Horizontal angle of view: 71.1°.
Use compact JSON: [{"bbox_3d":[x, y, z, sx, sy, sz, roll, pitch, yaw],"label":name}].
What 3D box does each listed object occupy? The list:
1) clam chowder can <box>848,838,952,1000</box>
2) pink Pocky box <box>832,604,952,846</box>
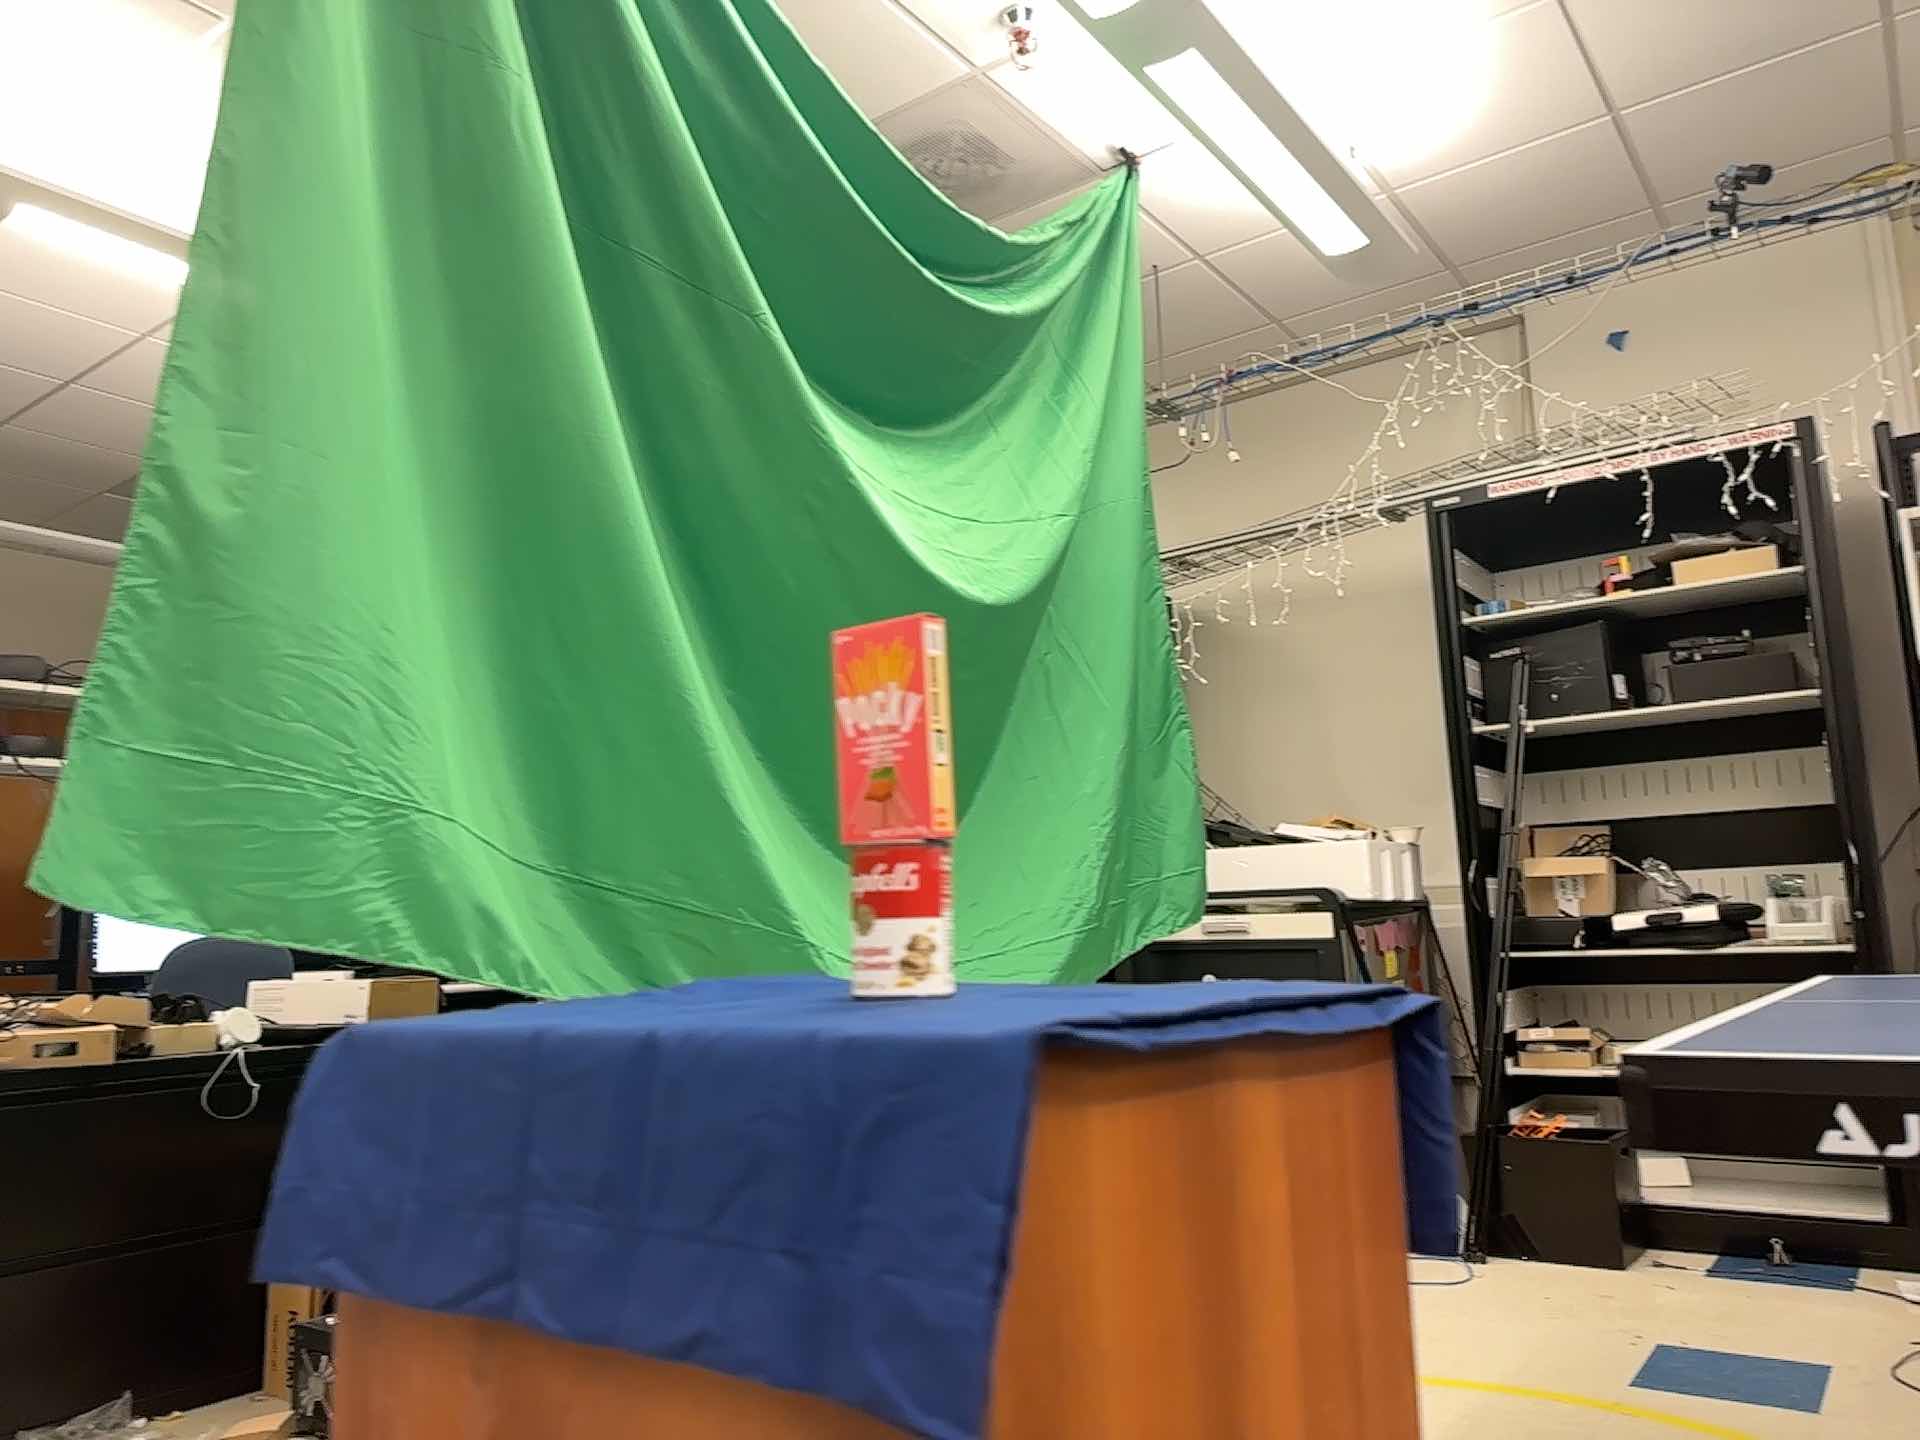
[{"bbox_3d":[-0.040,0.131,0.887,0.068,0.102,0.068,-1,-9,0],"label":"clam chowder can"},{"bbox_3d":[-0.047,0.005,0.904,0.084,0.155,0.029,-9,-11,41],"label":"pink Pocky box"}]
